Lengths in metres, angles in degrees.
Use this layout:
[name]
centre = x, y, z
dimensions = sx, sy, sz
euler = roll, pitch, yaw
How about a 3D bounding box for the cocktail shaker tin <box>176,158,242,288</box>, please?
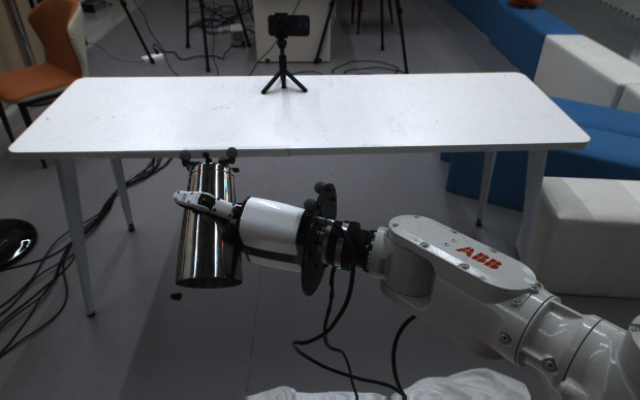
[cocktail shaker tin]
centre = -0.160, 0.037, 0.701
dimensions = 0.093, 0.093, 0.170
euler = -2, 71, -6
